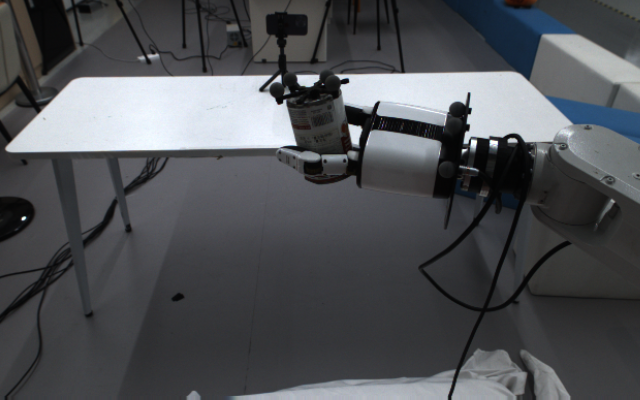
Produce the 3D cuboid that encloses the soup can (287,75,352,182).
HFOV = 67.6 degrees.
[{"bbox_3d":[0.005,-0.078,0.584,0.067,0.101,0.067,-11,27,6],"label":"soup can"}]
